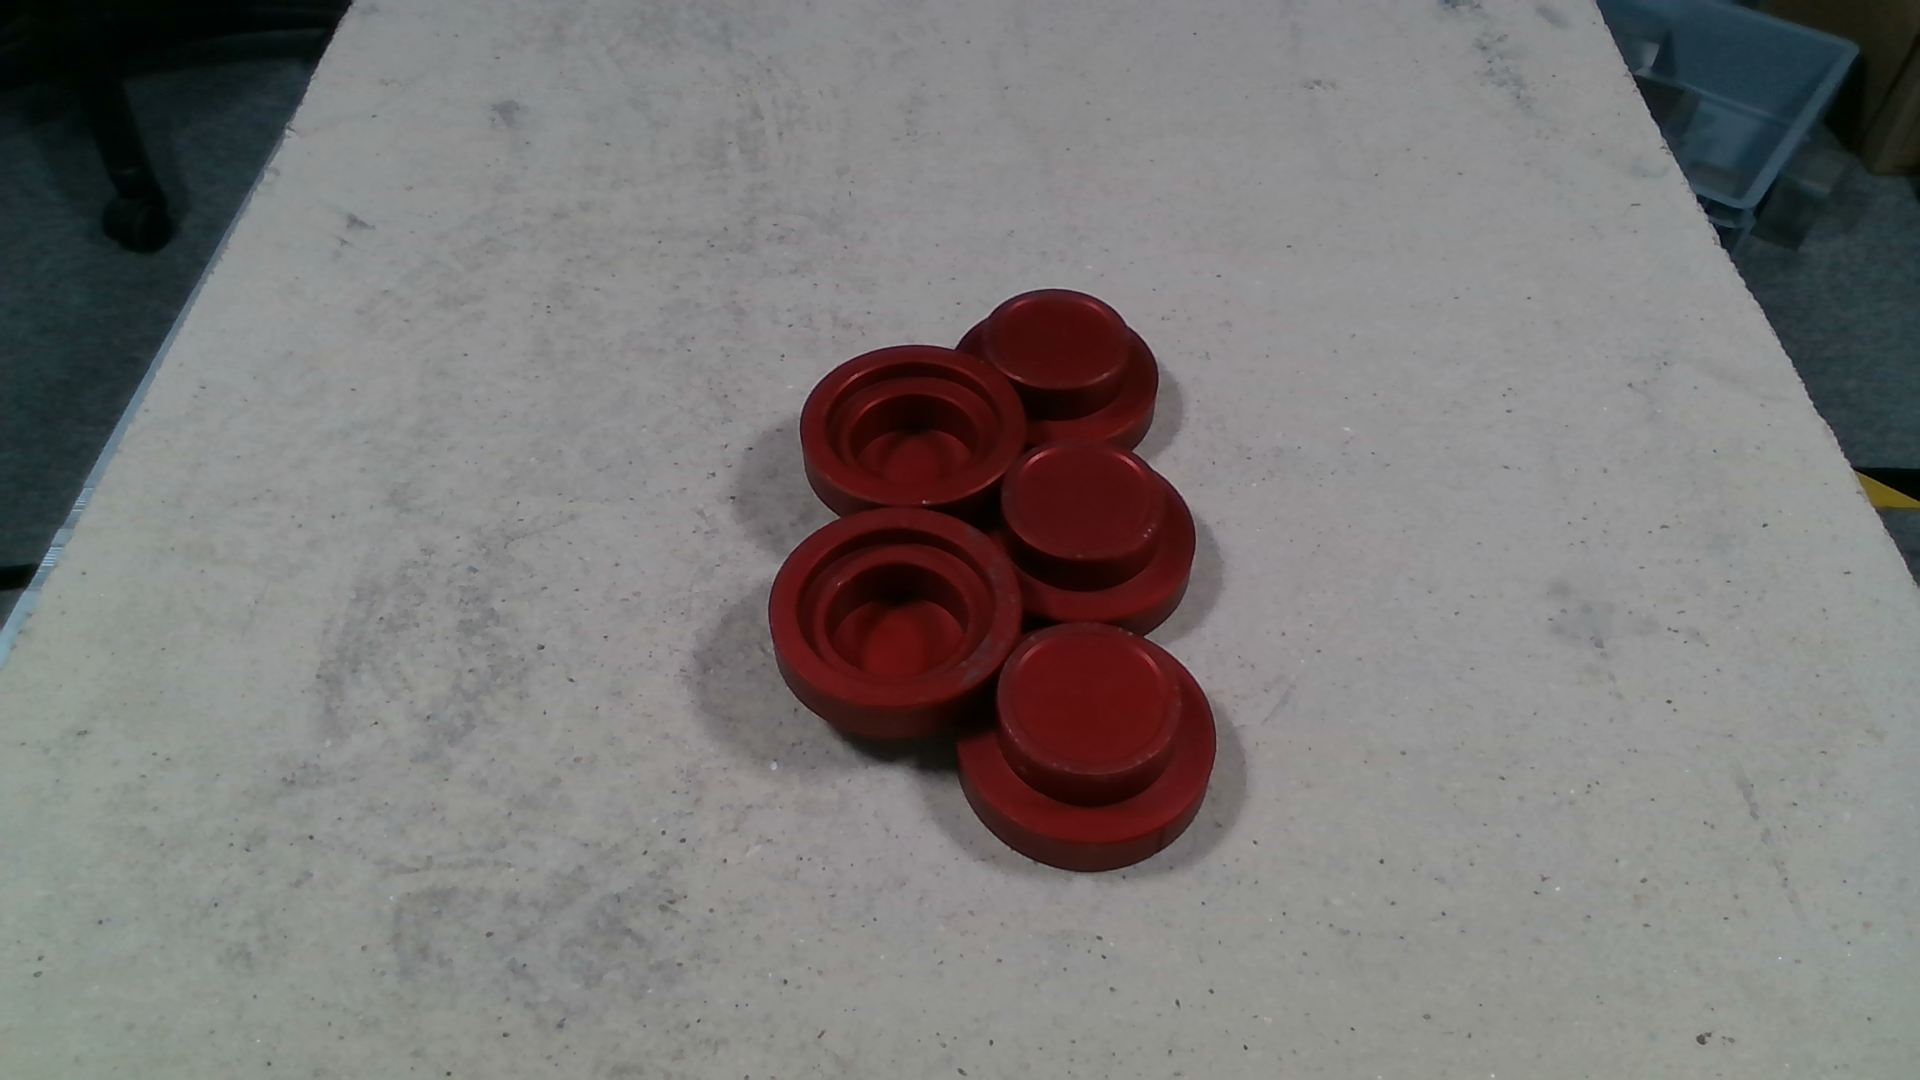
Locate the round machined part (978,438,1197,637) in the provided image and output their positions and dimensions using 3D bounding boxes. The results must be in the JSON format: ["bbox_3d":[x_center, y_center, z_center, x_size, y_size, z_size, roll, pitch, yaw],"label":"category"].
[{"bbox_3d":[0.051,-0.005,0.580,0.098,0.042,0.098,0,50,0],"label":"round machined part"}]

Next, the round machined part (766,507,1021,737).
[{"bbox_3d":[-0.025,0.037,0.545,0.098,0.042,0.098,0,50,0],"label":"round machined part"}]

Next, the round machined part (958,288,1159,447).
[{"bbox_3d":[0.044,-0.080,0.643,0.098,0.042,0.098,0,50,0],"label":"round machined part"}]

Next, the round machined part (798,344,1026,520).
[{"bbox_3d":[-0.021,-0.038,0.608,0.098,0.042,0.098,0,50,0],"label":"round machined part"}]

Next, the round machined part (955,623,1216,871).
[{"bbox_3d":[0.047,0.070,0.517,0.098,0.042,0.098,0,50,0],"label":"round machined part"}]
